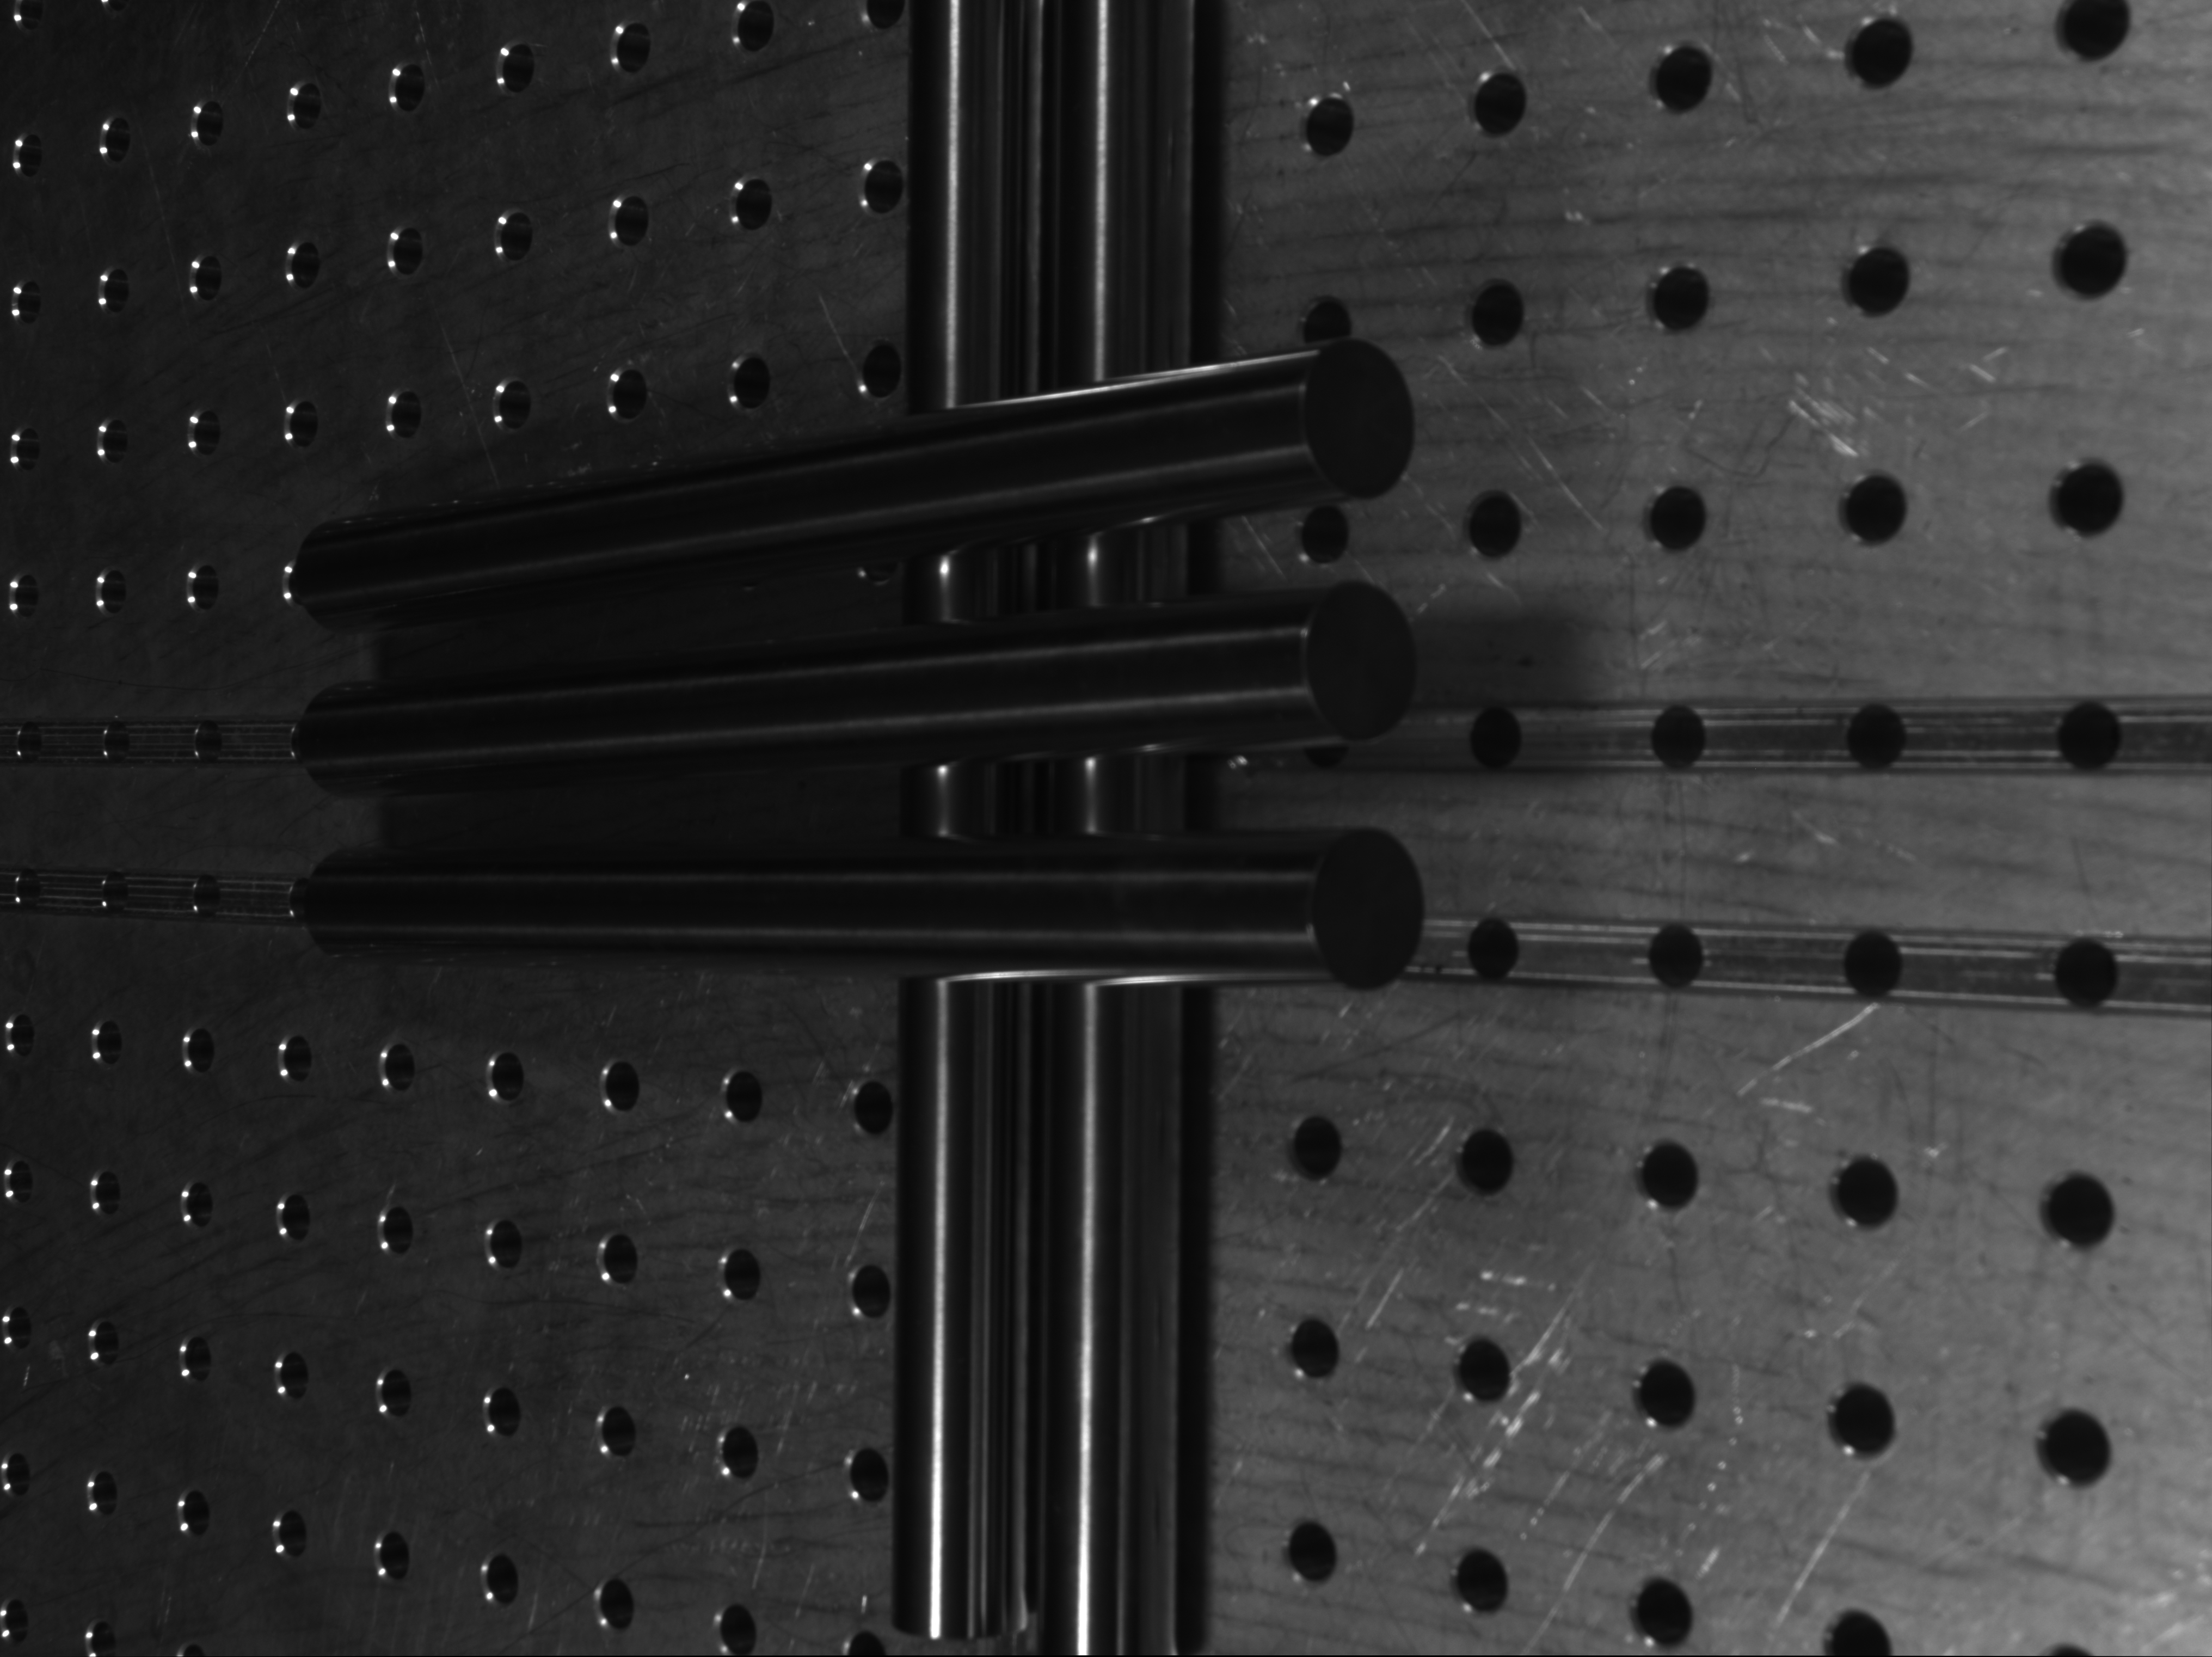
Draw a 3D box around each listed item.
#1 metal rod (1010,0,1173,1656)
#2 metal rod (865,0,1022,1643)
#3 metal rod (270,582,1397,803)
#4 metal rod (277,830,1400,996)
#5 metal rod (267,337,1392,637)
[{"bbox_3d":[-0.003,-0.002,0.642,0.025,0.025,0.300,1,91,39],"label":"metal rod"},{"bbox_3d":[-0.029,-0.005,0.664,0.025,0.025,0.300,1,91,39],"label":"metal rod"},{"bbox_3d":[-0.065,-0.021,0.666,0.299,0.025,0.025,-2,89,48],"label":"metal rod"},{"bbox_3d":[-0.064,0.015,0.665,0.299,0.025,0.025,-1,89,48],"label":"metal rod"},{"bbox_3d":[-0.066,-0.058,0.667,0.299,0.025,0.025,-3,88,48],"label":"metal rod"}]
